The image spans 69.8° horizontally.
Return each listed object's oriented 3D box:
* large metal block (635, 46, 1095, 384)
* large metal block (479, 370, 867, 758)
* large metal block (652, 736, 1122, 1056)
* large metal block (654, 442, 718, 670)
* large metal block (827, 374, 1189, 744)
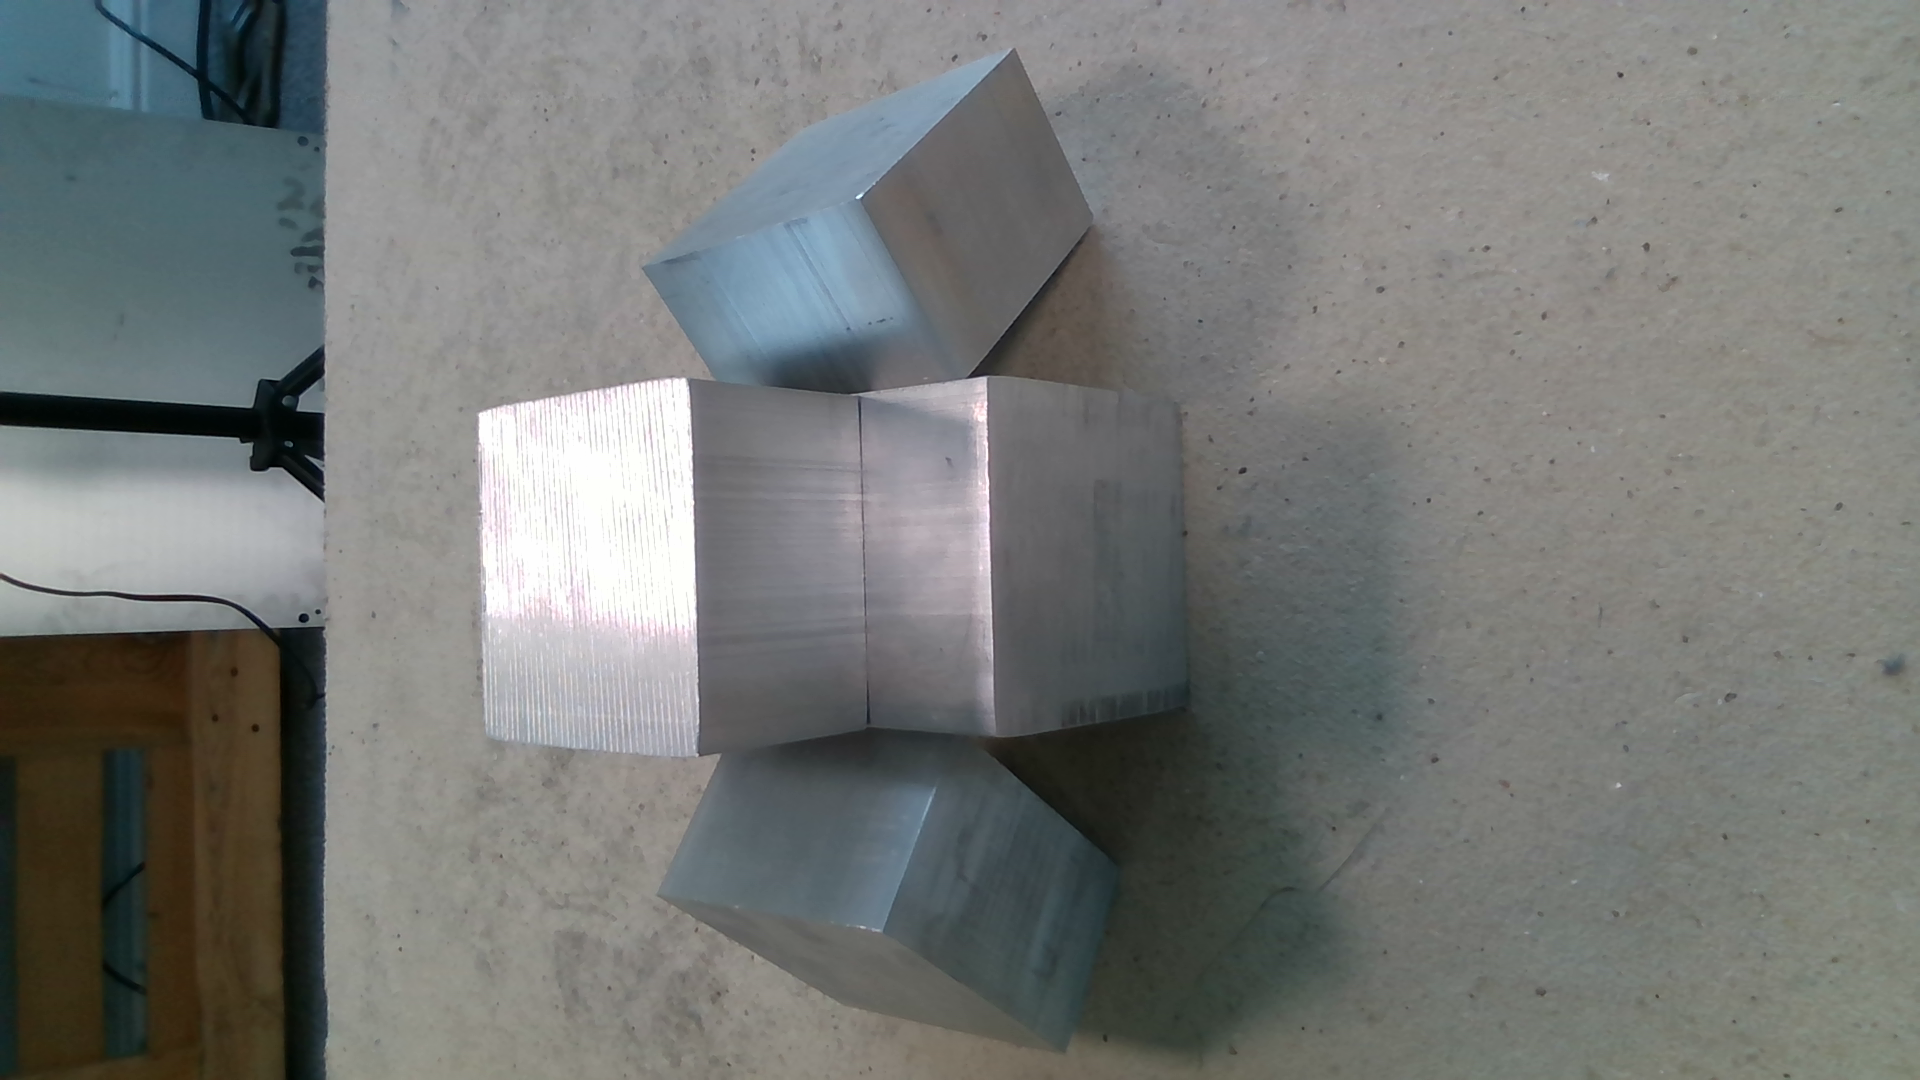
[{"bbox_3d":[-0.023,-0.079,0.365,0.080,0.080,0.050,-5,127,40],"label":"large metal block"},{"bbox_3d":[-0.070,0.006,0.329,0.080,0.050,0.080,-3,89,40],"label":"large metal block"},{"bbox_3d":[-0.017,0.090,0.360,0.080,0.080,0.050,-4,53,40],"label":"large metal block"},{"bbox_3d":[-0.056,0.008,0.404,0.050,0.080,0.080,-5,87,40],"label":"large metal block"},{"bbox_3d":[0.013,0.005,0.344,0.050,0.080,0.080,-3,89,40],"label":"large metal block"}]
